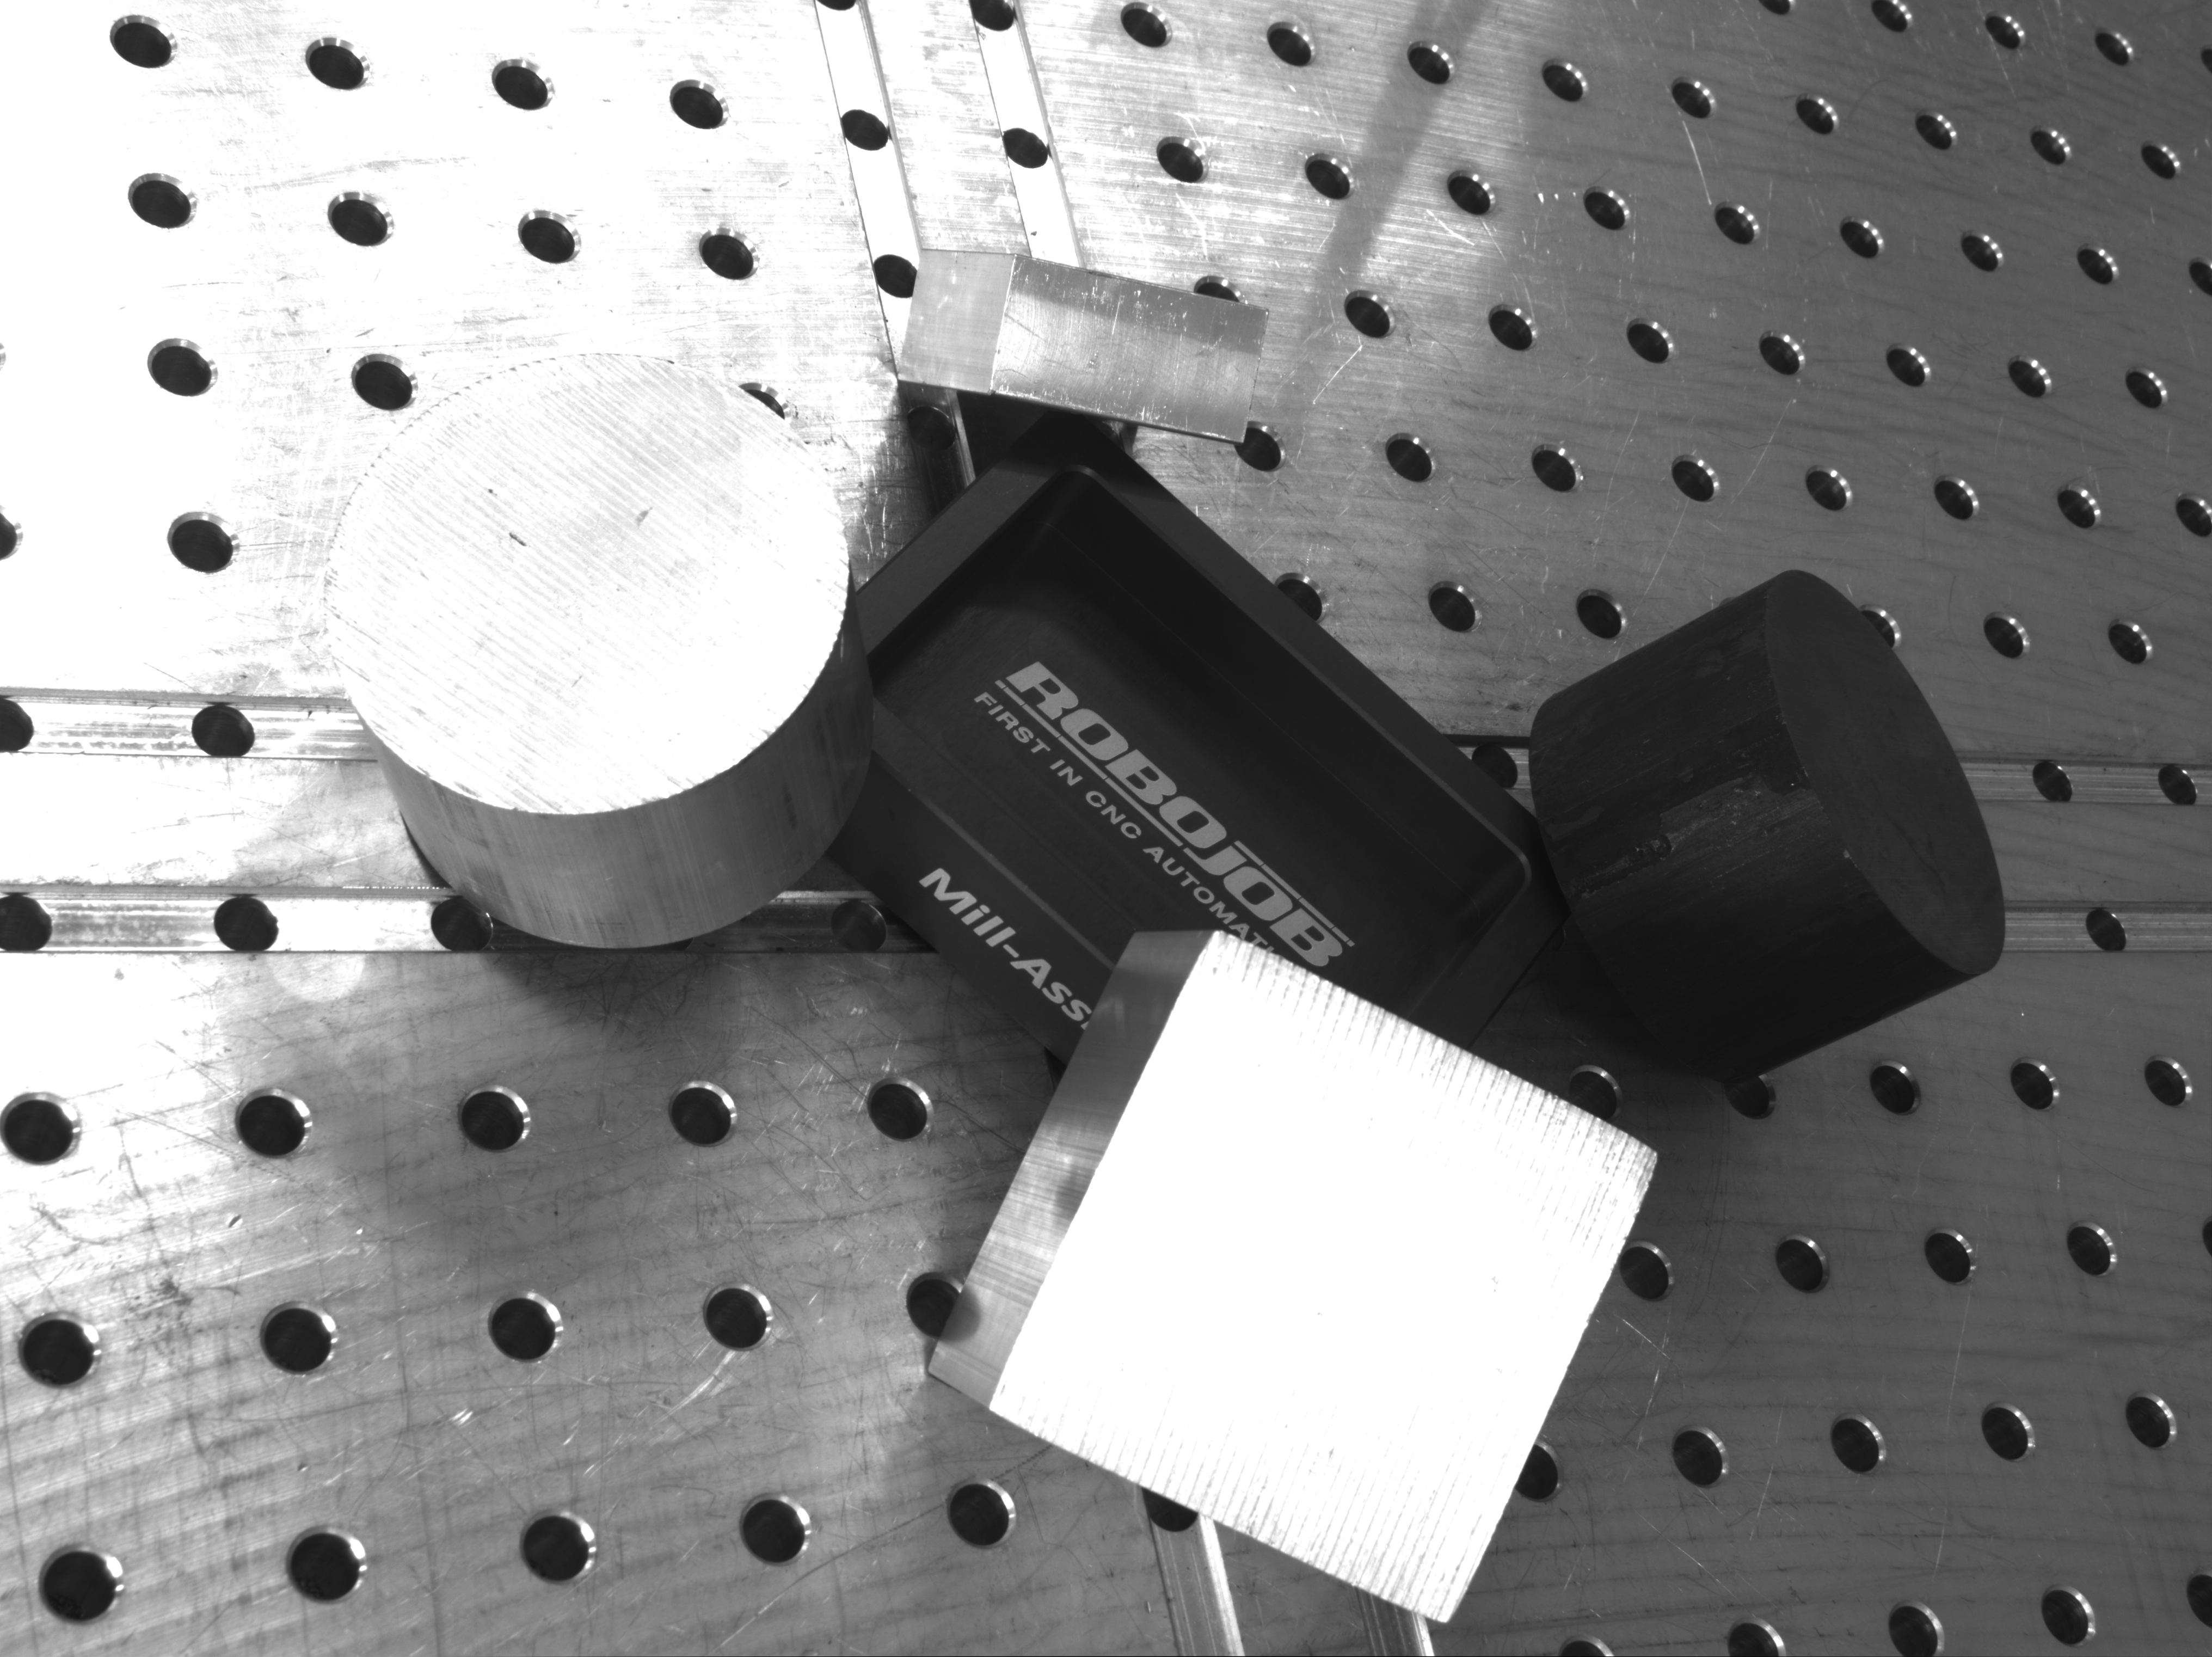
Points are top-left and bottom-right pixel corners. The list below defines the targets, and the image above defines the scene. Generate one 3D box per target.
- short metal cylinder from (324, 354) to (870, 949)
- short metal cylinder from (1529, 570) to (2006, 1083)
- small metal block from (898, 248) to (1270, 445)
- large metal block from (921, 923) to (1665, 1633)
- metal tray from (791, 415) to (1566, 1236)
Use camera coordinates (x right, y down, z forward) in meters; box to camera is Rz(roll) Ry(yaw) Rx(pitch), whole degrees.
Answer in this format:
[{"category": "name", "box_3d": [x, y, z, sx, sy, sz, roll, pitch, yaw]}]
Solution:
[{"category": "short metal cylinder", "box_3d": [-0.079, -0.028, 0.582, 0.080, 0.050, 0.080, 0, 65, 0]}, {"category": "short metal cylinder", "box_3d": [0.121, 0.000, 0.672, 0.080, 0.050, 0.080, 38, 37, -35]}, {"category": "small metal block", "box_3d": [-0.005, -0.089, 0.675, 0.050, 0.050, 0.025, 9, 96, -23]}, {"category": "large metal block", "box_3d": [0.028, 0.069, 0.578, 0.080, 0.050, 0.080, 28, 83, -11]}, {"category": "metal tray", "box_3d": [0.012, -0.003, 0.646, 0.130, 0.030, 0.090, 42, 51, 0]}]
